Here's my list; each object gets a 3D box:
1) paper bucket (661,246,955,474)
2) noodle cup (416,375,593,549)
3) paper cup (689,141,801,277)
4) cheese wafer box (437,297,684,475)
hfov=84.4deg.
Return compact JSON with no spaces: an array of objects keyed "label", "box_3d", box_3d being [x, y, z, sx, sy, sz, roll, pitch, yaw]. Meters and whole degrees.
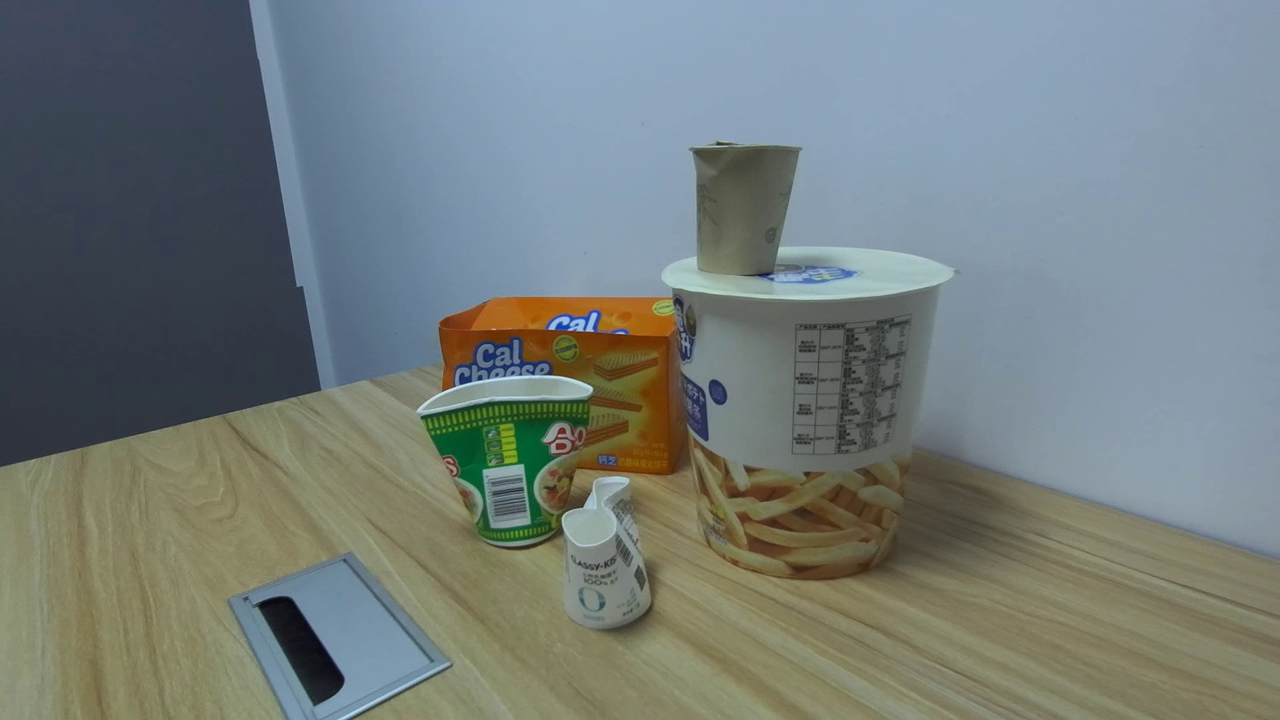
[{"label":"paper bucket","box_3d":[0.111,0.030,0.501,0.198,0.194,0.198,-2,18,1]},{"label":"noodle cup","box_3d":[-0.091,0.074,0.527,0.115,0.111,0.070,2,20,14]},{"label":"paper cup","box_3d":[0.068,-0.102,0.473,0.071,0.084,0.066,7,18,18]},{"label":"cheese wafer box","box_3d":[-0.067,0.018,0.685,0.230,0.132,0.152,3,19,14]}]
